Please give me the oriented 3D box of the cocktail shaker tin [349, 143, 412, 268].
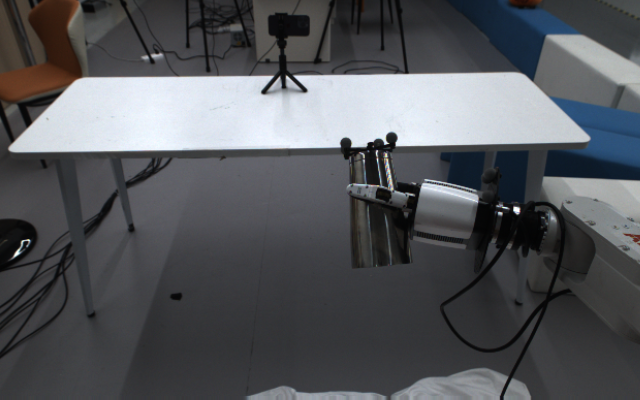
[{"bbox_3d":[0.085,0.014,0.738,0.093,0.170,0.093,-6,-7,-1],"label":"cocktail shaker tin"}]
